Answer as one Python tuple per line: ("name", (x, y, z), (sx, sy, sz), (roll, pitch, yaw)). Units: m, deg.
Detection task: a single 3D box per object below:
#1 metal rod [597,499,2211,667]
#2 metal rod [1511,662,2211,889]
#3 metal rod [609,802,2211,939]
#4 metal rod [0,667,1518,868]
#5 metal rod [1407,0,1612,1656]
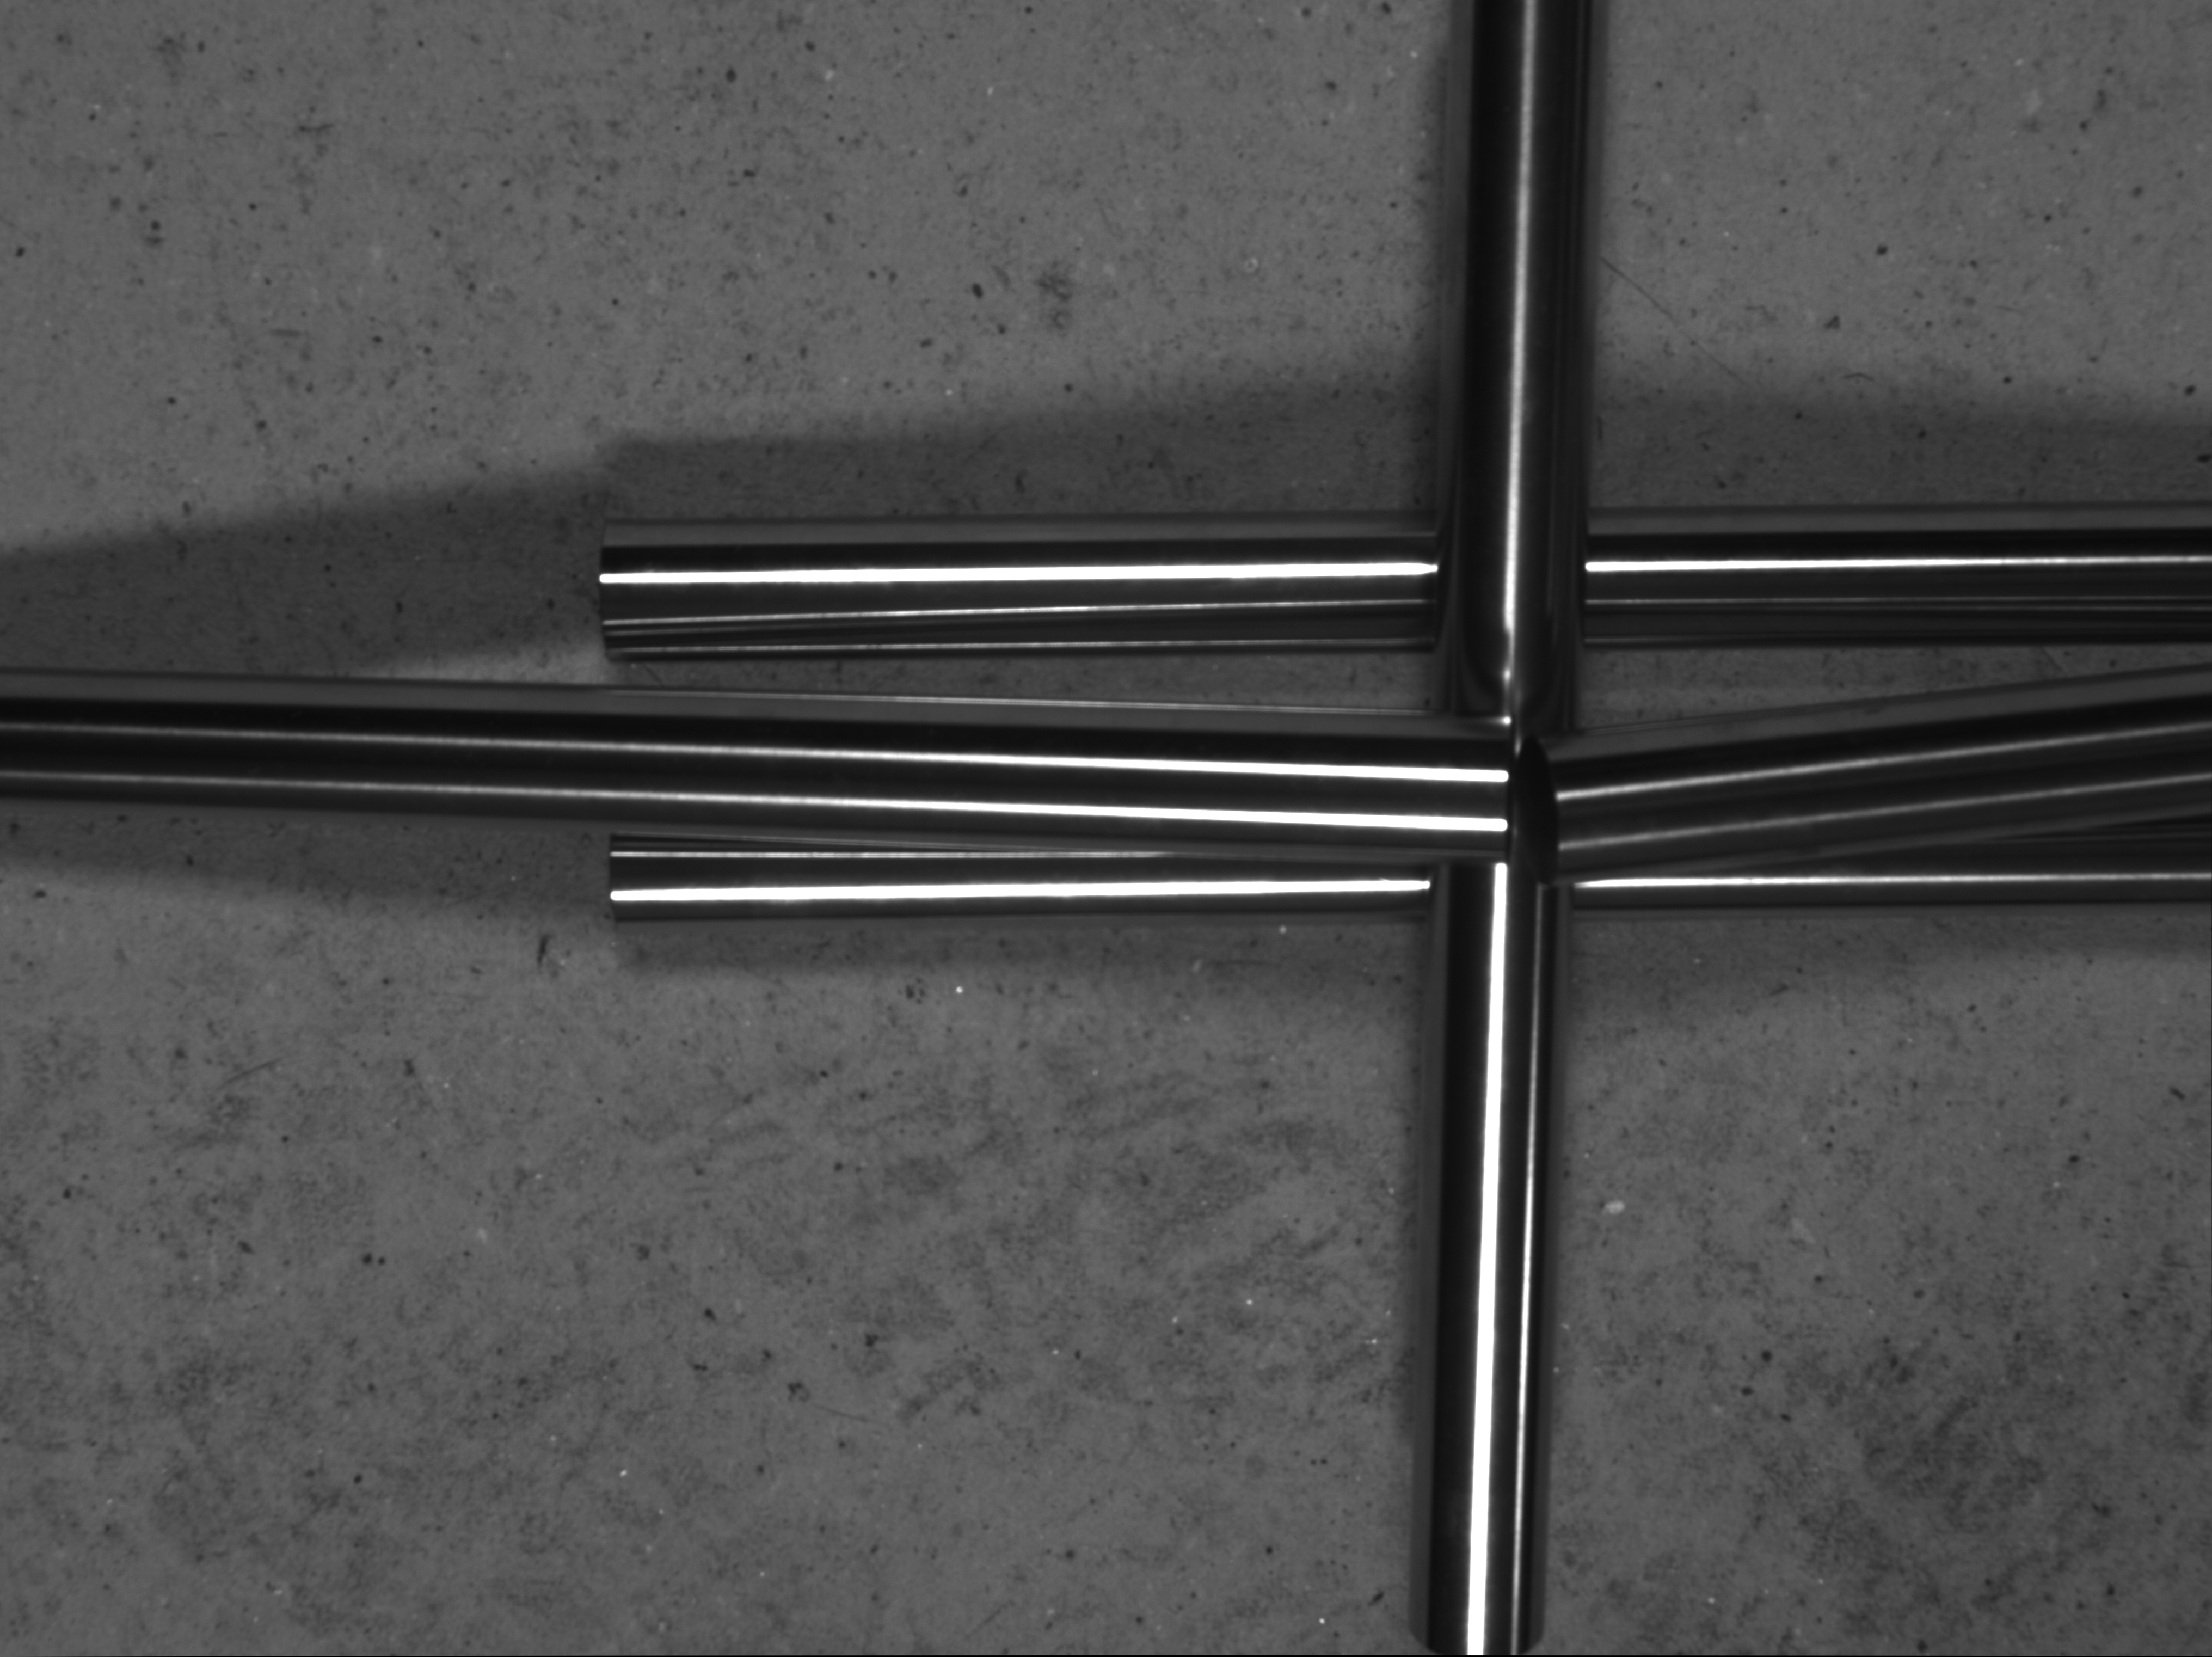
("metal rod", (0.064, -0.042, 0.628), (0.300, 0.025, 0.025), (-1, 110, 0))
("metal rod", (0.216, -0.019, 0.613), (0.300, 0.025, 0.025), (-6, 110, -9))
("metal rod", (0.064, 0.005, 0.645), (0.300, 0.025, 0.025), (-1, 110, 0))
("metal rod", (-0.082, -0.011, 0.611), (0.300, 0.025, 0.025), (2, 110, 9))
("metal rod", (0.067, 0.005, 0.619), (0.025, 0.025, 0.300), (0, 110, 0))
